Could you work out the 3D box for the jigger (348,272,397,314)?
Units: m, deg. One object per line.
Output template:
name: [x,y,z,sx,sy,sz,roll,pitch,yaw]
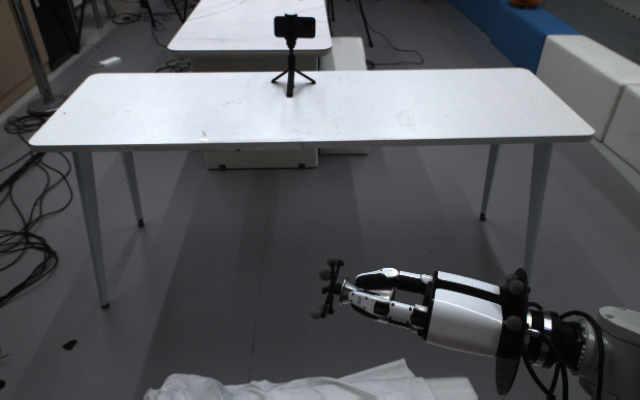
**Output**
jigger: [0.071,0.127,0.656,0.071,0.043,0.043,10,35,16]
